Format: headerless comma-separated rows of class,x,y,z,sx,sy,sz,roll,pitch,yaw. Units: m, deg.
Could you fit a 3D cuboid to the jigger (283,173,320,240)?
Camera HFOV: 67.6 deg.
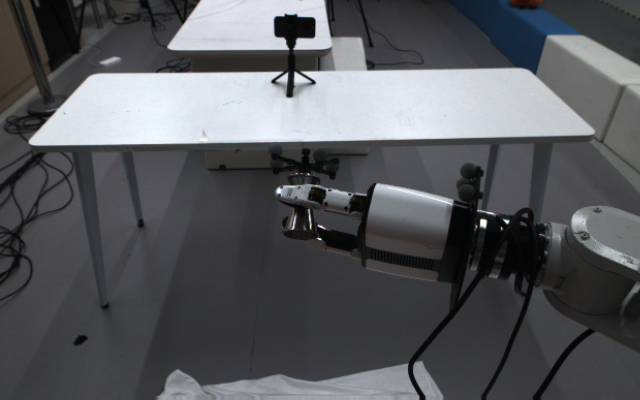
jigger,-0.021,0.007,0.557,0.043,0.043,0.071,3,72,1
